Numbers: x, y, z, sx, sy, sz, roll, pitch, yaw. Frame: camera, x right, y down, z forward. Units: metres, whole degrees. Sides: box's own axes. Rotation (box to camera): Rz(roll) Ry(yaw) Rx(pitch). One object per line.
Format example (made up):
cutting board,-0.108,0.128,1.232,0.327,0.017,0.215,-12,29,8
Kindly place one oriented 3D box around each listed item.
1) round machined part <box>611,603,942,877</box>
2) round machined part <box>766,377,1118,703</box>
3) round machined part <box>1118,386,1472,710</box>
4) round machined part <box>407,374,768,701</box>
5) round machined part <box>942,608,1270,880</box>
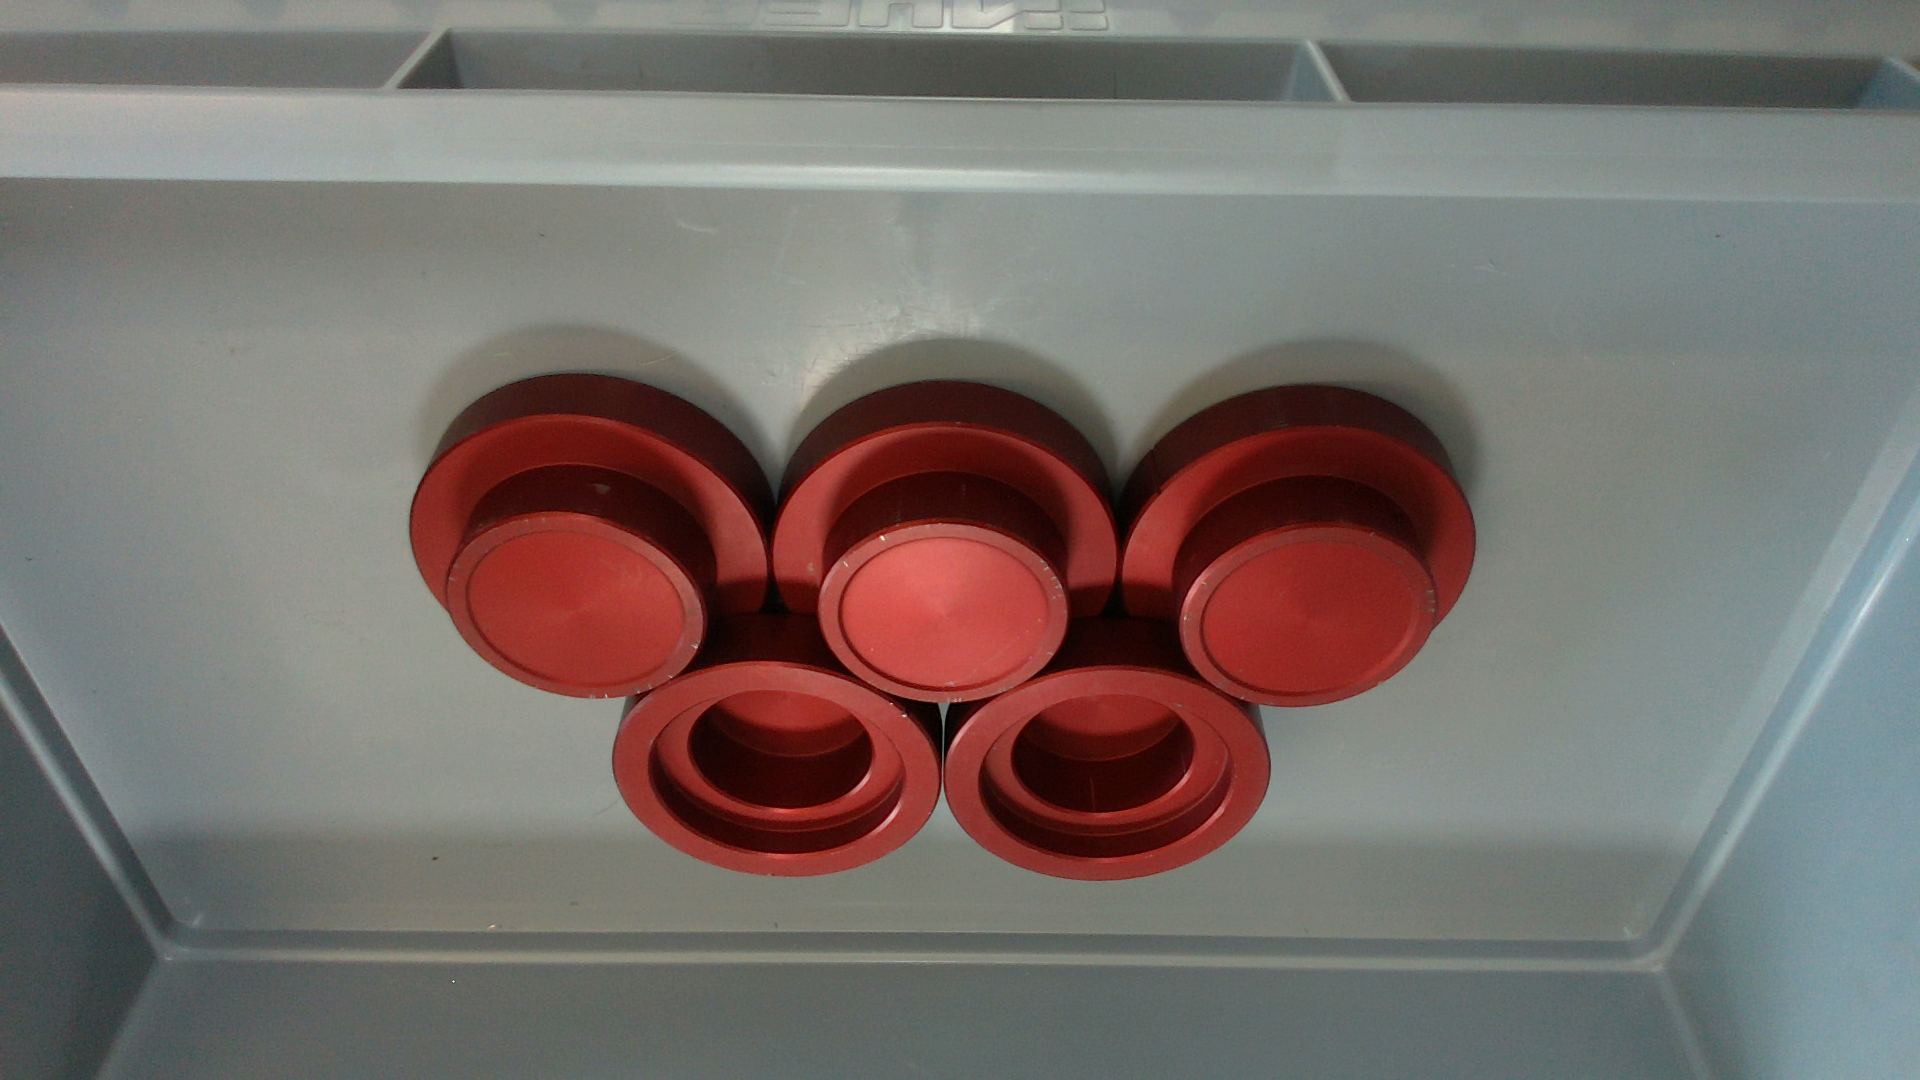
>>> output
round machined part,-0.054,0.058,0.426,0.098,0.042,0.098,0,130,0
round machined part,-0.005,0.007,0.383,0.098,0.042,0.098,0,129,0
round machined part,0.093,0.009,0.385,0.098,0.042,0.098,0,129,0
round machined part,-0.103,0.006,0.381,0.098,0.042,0.098,-1,129,-1
round machined part,0.044,0.059,0.428,0.098,0.042,0.098,0,130,0
